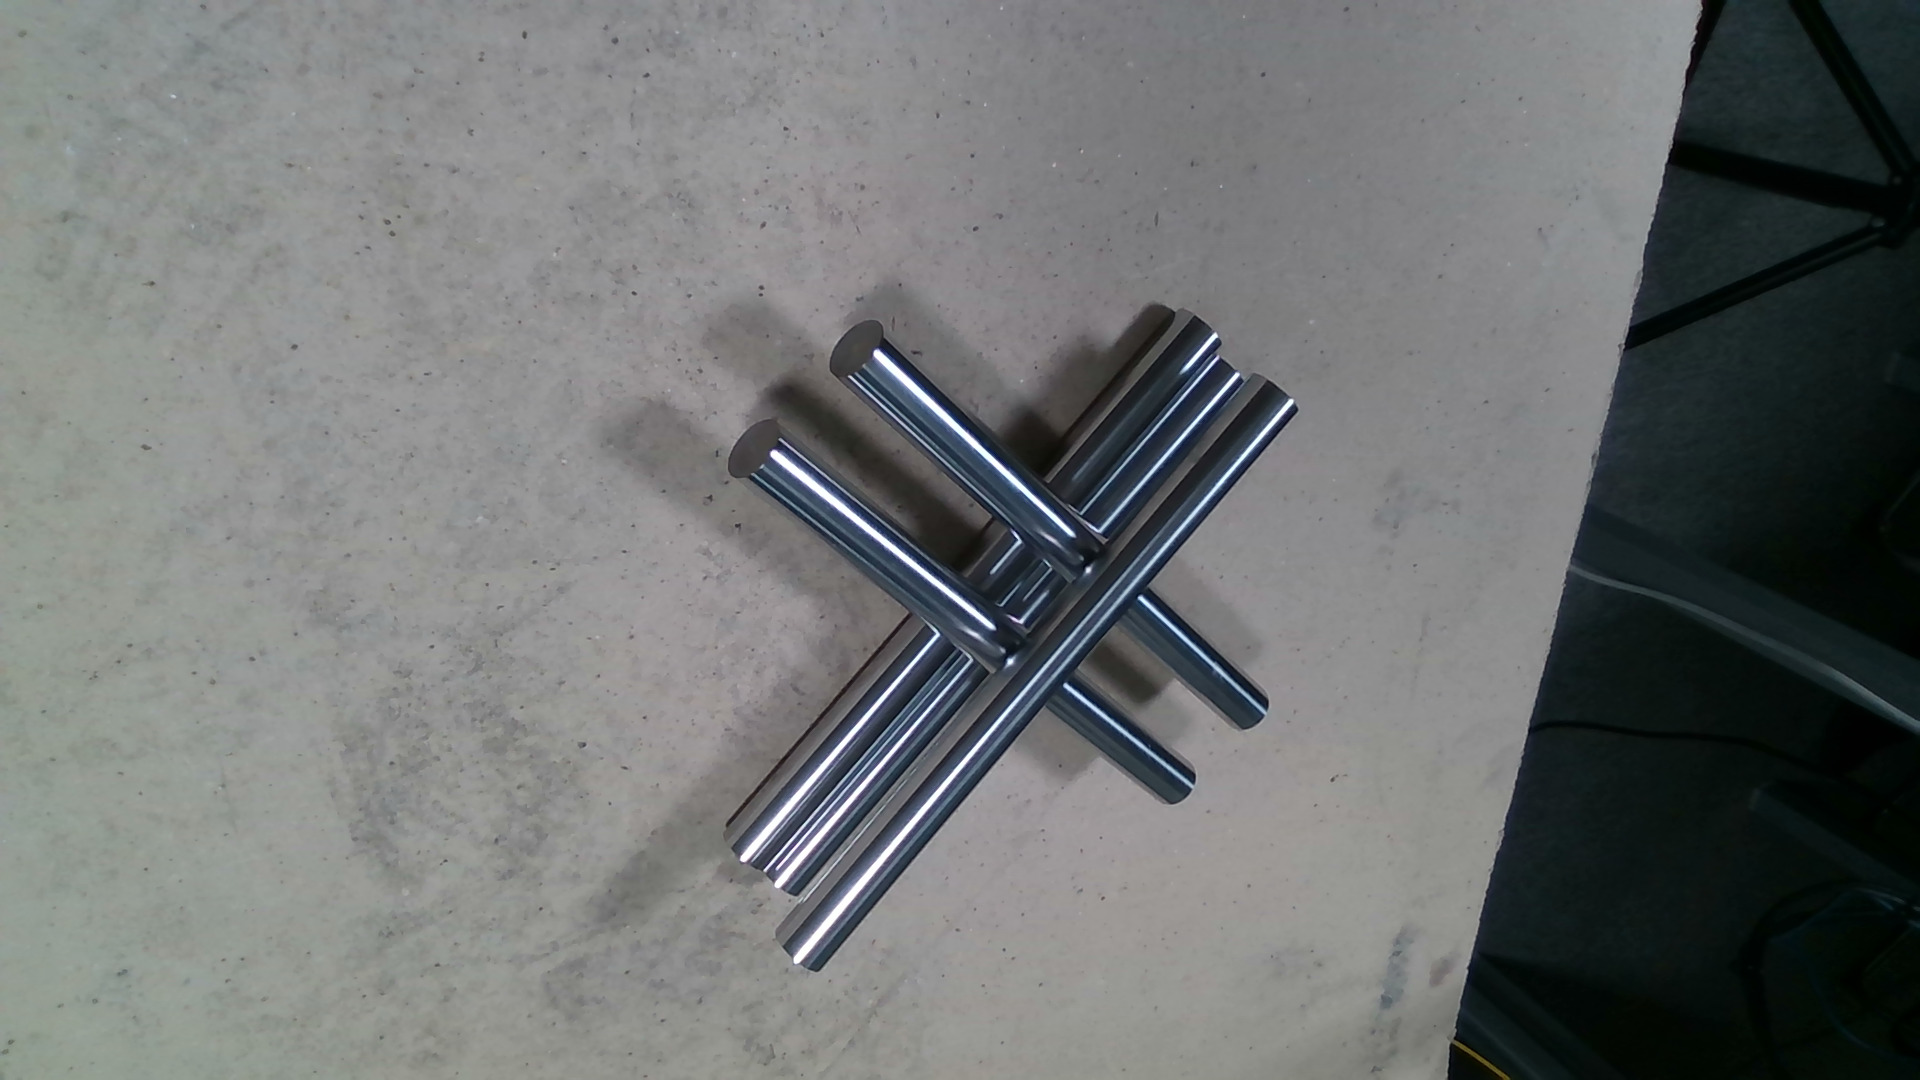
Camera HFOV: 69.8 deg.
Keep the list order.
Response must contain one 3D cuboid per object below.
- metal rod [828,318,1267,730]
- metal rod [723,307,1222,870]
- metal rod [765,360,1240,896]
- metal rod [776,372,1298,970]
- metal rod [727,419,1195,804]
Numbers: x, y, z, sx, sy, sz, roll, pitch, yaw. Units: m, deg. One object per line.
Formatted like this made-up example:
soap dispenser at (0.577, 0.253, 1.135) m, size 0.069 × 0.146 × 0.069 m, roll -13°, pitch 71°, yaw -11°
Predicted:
metal rod at (0.051, 0.007, 0.584) m, size 0.025 × 0.025 × 0.301 m, roll -49°, pitch 129°, yaw 0°
metal rod at (0.005, 0.021, 0.595) m, size 0.300 × 0.025 × 0.025 m, roll -49°, pitch 129°, yaw 0°
metal rod at (0.018, 0.036, 0.611) m, size 0.300 × 0.025 × 0.025 m, roll -49°, pitch 129°, yaw 0°
metal rod at (0.031, 0.054, 0.564) m, size 0.300 × 0.025 × 0.025 m, roll -50°, pitch 129°, yaw 1°
metal rod at (0.016, 0.043, 0.581) m, size 0.025 × 0.025 × 0.301 m, roll -49°, pitch 129°, yaw 0°
